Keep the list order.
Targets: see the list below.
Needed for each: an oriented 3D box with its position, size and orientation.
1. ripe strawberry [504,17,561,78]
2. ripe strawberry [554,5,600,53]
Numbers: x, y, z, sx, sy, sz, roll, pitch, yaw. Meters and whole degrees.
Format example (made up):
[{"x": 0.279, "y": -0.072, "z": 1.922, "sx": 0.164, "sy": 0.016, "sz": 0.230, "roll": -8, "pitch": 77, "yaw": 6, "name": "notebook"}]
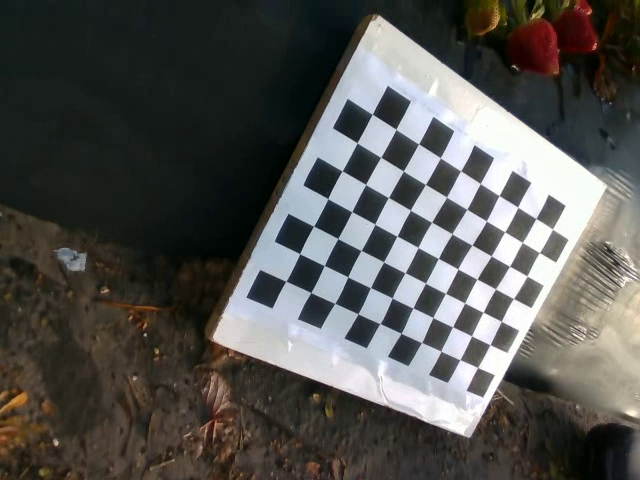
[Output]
[{"x": 0.195, "y": -0.168, "z": 0.552, "sx": 0.050, "sy": 0.065, "sz": 0.050, "roll": -16, "pitch": -36, "yaw": -16, "name": "ripe strawberry"}, {"x": 0.249, "y": -0.199, "z": 0.610, "sx": 0.044, "sy": 0.055, "sz": 0.042, "roll": -38, "pitch": -26, "yaw": -8, "name": "ripe strawberry"}]
